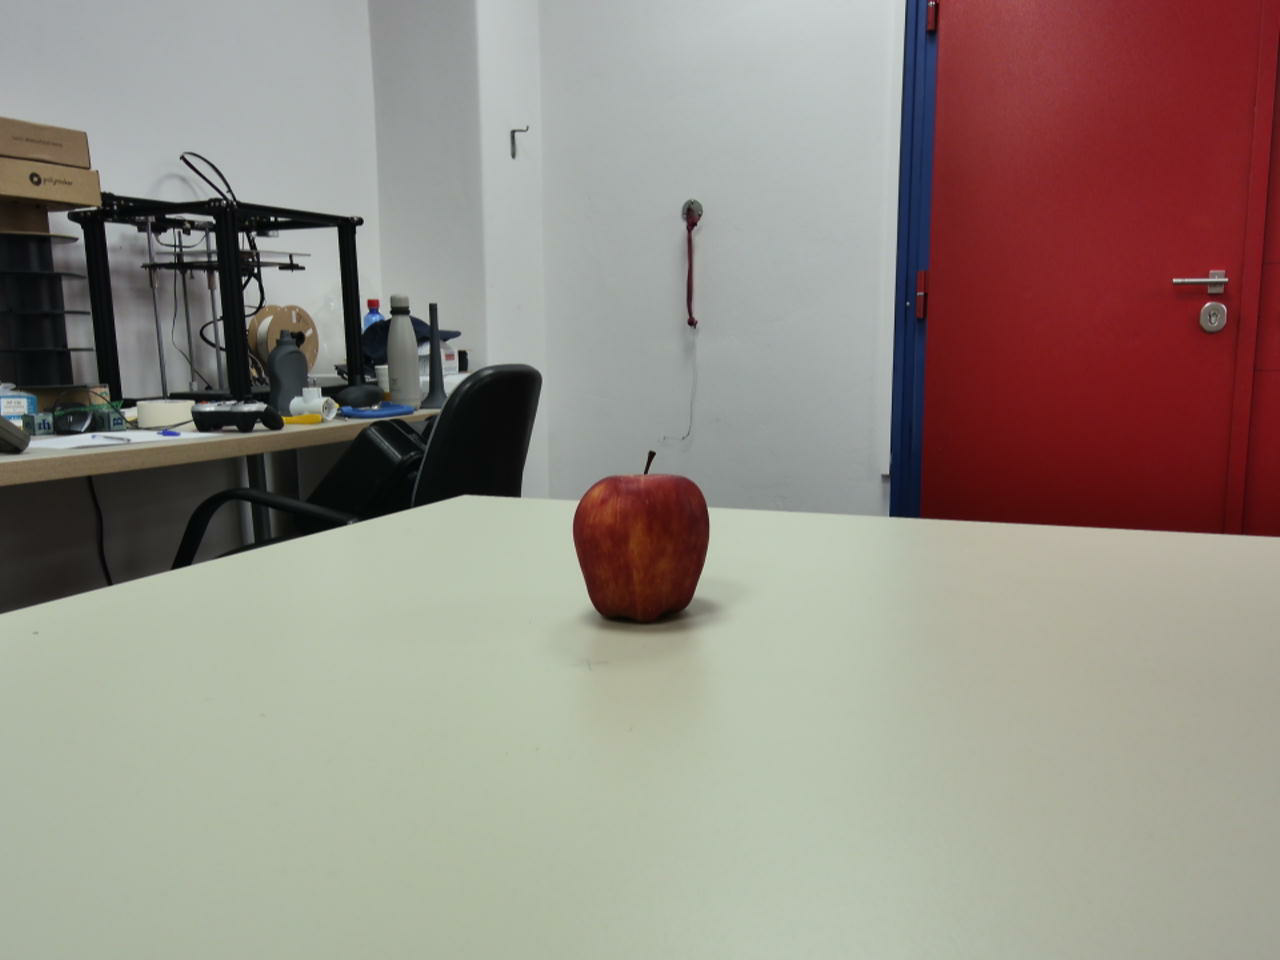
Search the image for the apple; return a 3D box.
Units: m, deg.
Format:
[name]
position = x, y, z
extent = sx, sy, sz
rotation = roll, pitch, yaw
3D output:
[apple]
position = 0.001, 0.029, 0.550
extent = 0.083, 0.090, 0.083
rotation = -1, 6, 0
